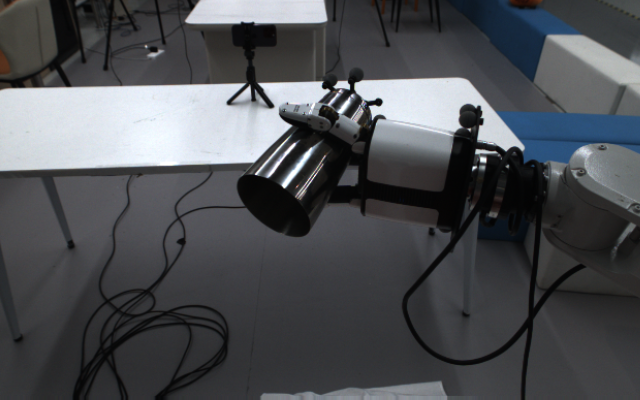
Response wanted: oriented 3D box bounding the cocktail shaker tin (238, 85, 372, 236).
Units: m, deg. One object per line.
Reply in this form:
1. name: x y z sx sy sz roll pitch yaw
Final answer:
1. cocktail shaker tin: -0.005 -0.055 0.547 0.093 0.093 0.170 19 55 22
